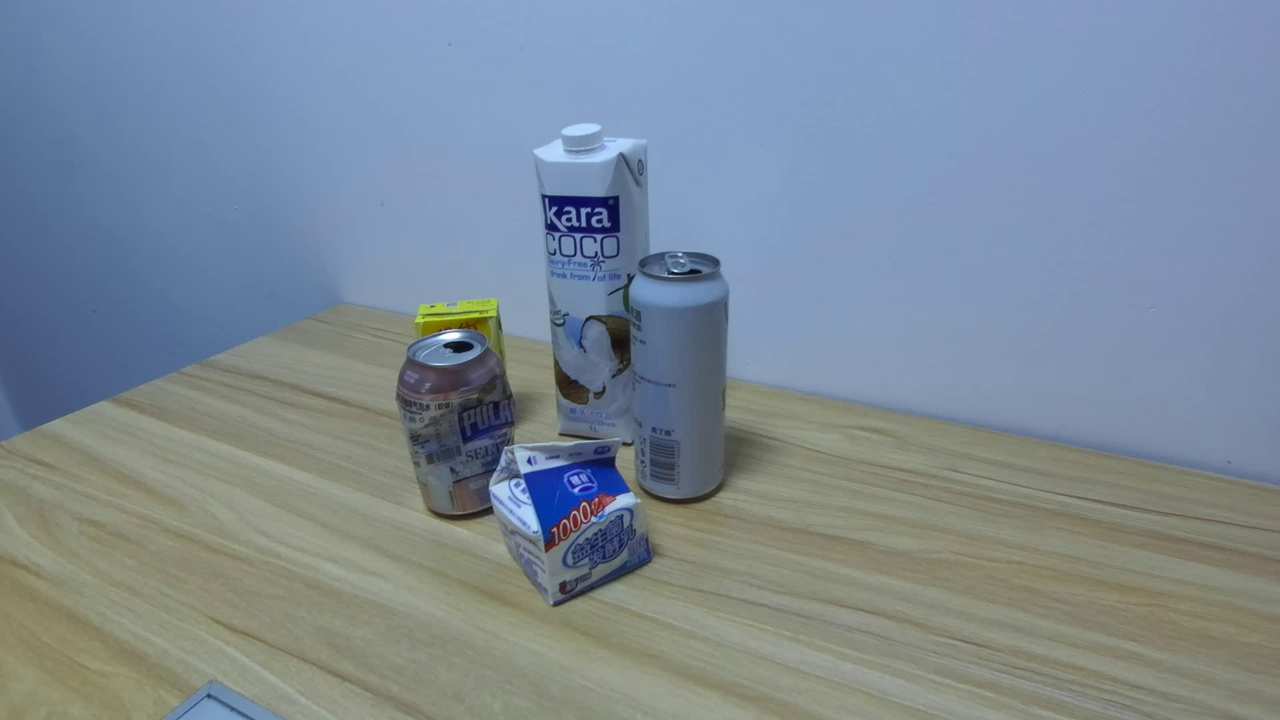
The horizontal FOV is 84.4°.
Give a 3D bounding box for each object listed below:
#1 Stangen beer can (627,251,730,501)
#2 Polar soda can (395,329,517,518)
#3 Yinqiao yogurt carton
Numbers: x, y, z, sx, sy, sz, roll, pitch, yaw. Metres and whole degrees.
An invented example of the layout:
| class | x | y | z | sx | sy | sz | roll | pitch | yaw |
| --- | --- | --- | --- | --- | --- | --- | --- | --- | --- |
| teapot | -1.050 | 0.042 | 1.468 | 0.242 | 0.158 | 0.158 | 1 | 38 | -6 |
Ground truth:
| class | x | y | z | sx | sy | sz | roll | pitch | yaw |
| --- | --- | --- | --- | --- | --- | --- | --- | --- | --- |
| Stangen beer can | 0.027 | 0.013 | 0.490 | 0.067 | 0.171 | 0.067 | -1 | 26 | 1 |
| Polar soda can | -0.124 | 0.045 | 0.496 | 0.074 | 0.122 | 0.067 | -1 | 24 | 4 |
| Yinqiao yogurt carton | -0.045 | 0.084 | 0.436 | 0.083 | 0.093 | 0.077 | -16 | 28 | -29 |
